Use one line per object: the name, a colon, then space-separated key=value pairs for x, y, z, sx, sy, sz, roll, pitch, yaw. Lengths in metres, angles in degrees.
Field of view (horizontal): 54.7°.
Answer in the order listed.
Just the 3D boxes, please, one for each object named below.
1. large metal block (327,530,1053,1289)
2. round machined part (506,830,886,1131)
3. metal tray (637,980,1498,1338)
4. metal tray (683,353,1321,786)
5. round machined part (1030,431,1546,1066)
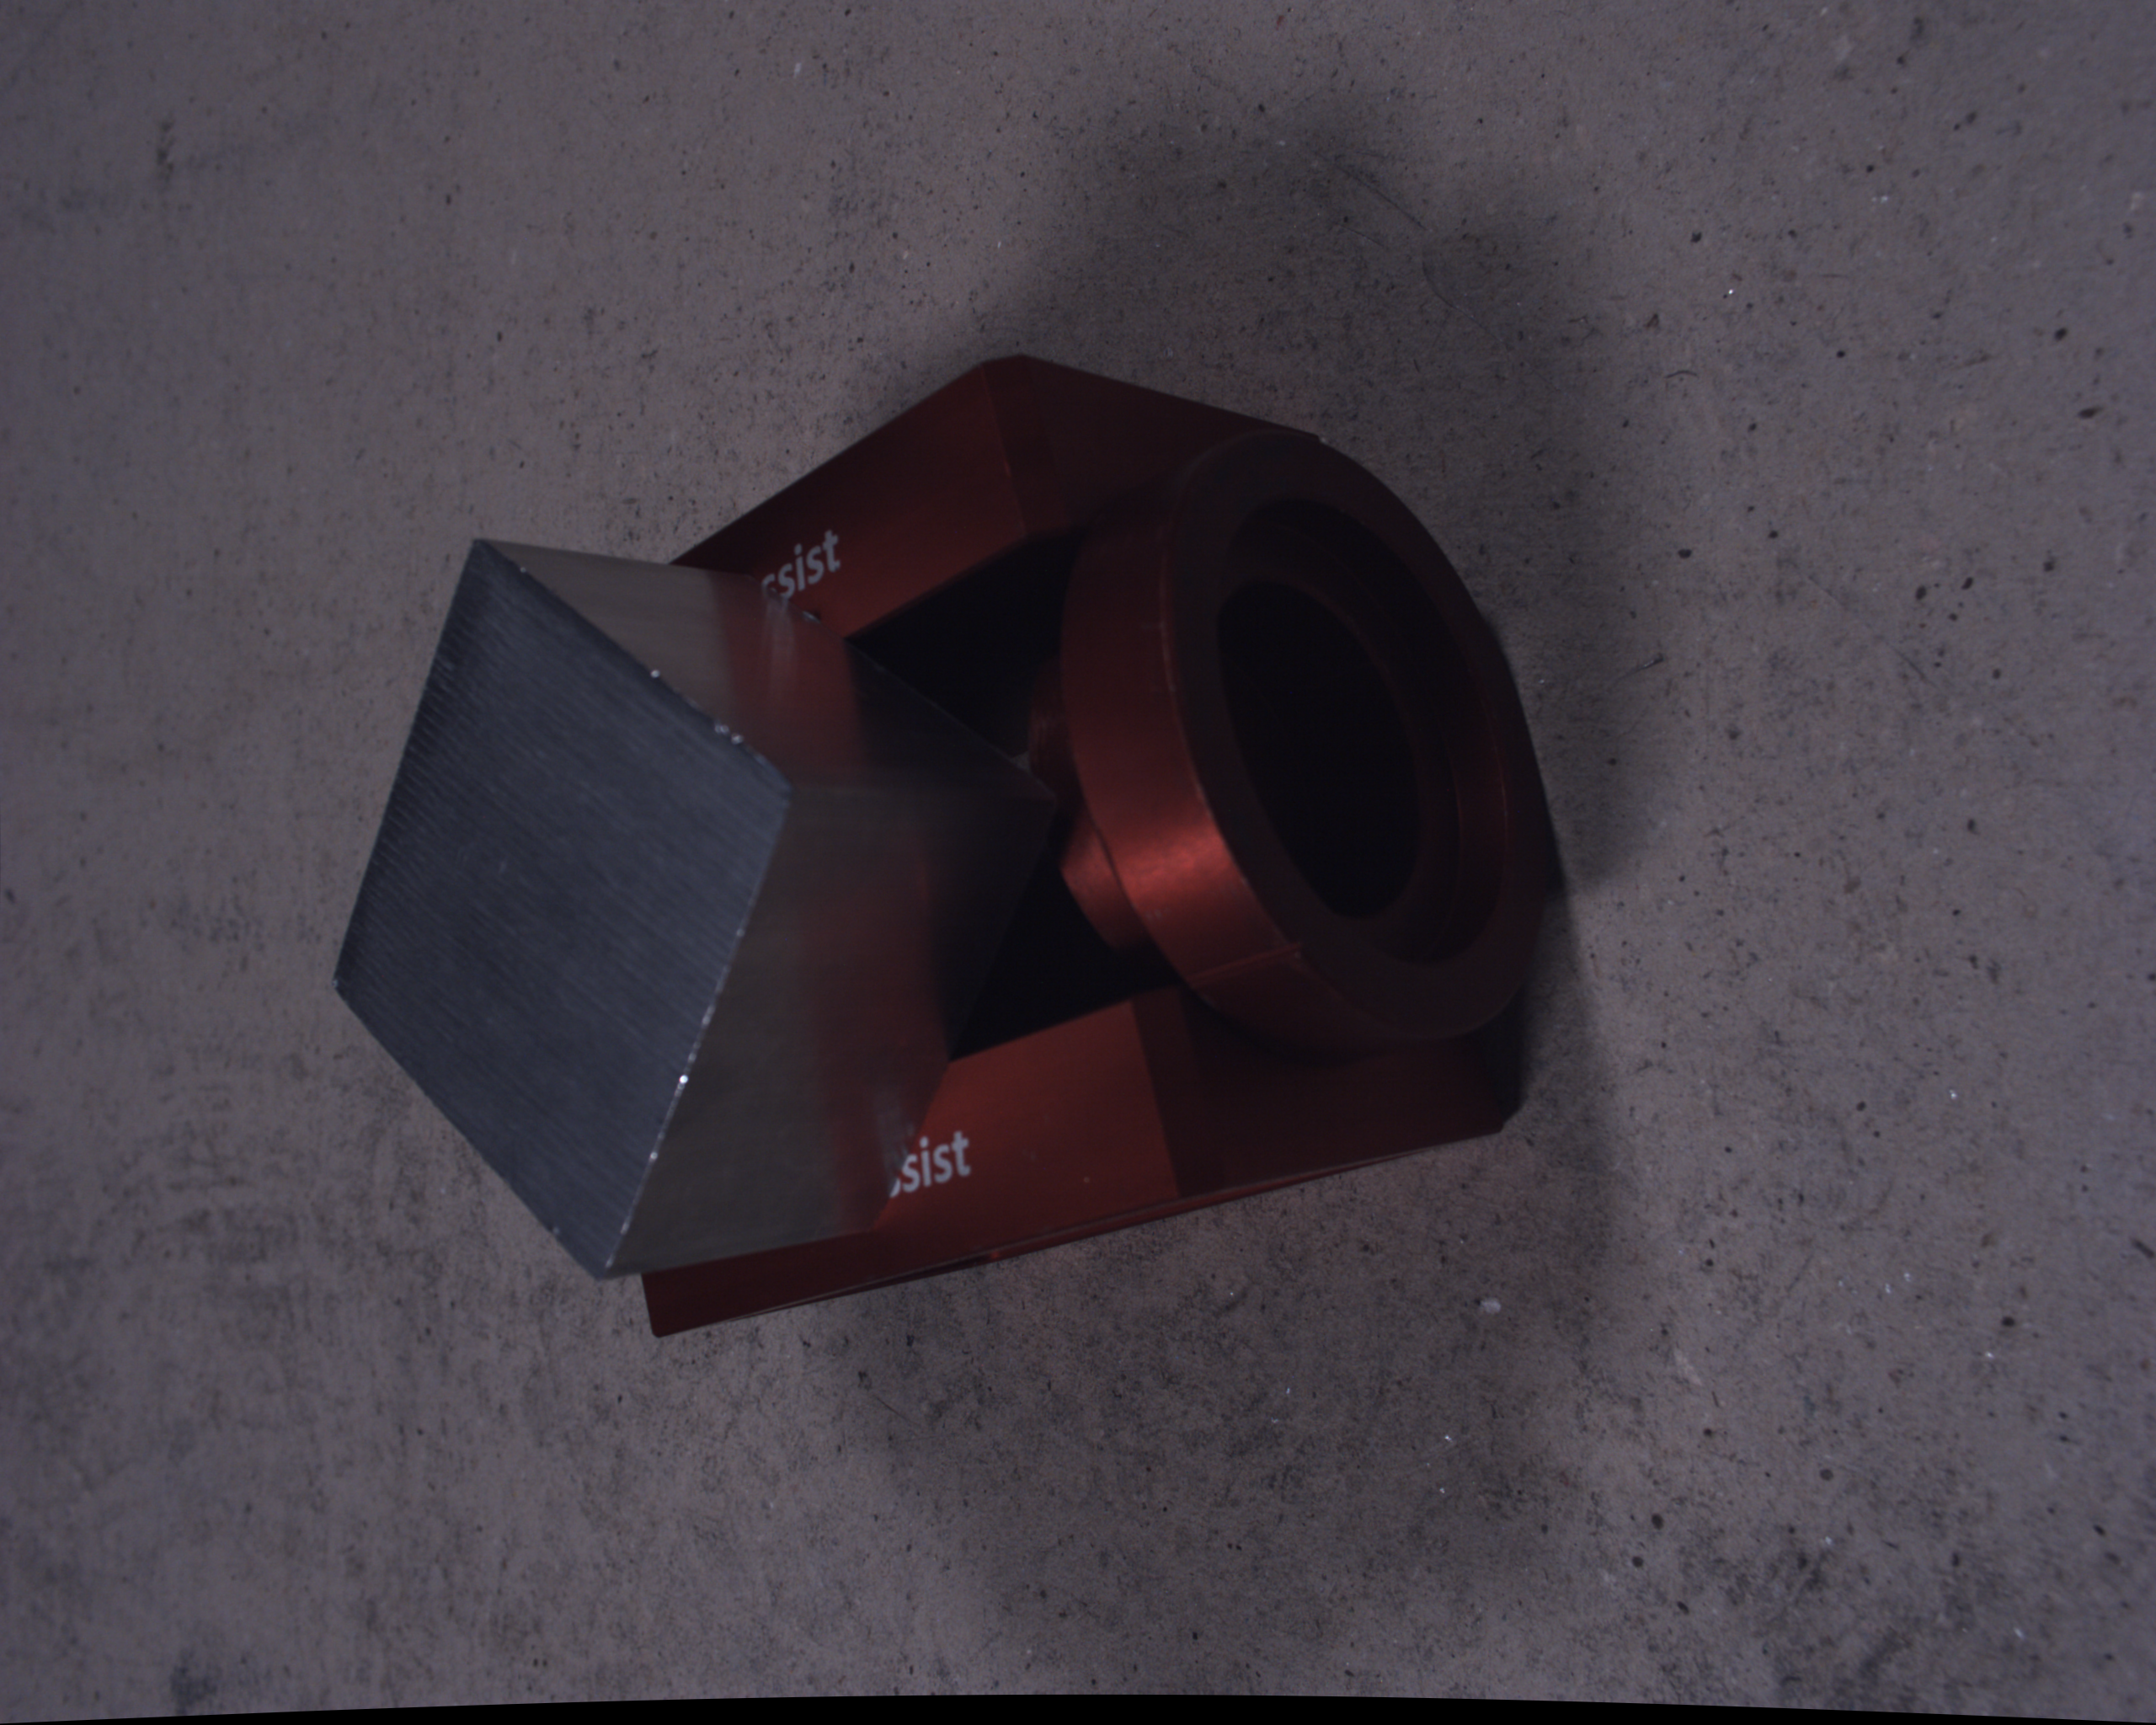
large metal block: x=-0.062 y=0.005 z=0.319 sx=0.080 sy=0.050 sz=0.079 roll=36 pitch=112 yaw=33
round machined part: x=-0.067 y=0.023 z=0.411 sx=0.042 sy=0.099 sz=0.098 roll=-20 pitch=78 yaw=38
metal tray: x=-0.006 y=0.051 z=0.365 sx=0.130 sy=0.091 sz=0.030 roll=-22 pitch=76 yaw=37
metal tray: x=-0.026 y=-0.044 z=0.385 sx=0.130 sy=0.091 sz=0.030 roll=-23 pitch=76 yaw=37
round machined part: x=0.030 y=-0.015 z=0.332 sx=0.042 sy=0.099 sz=0.098 roll=-20 pitch=78 yaw=38
